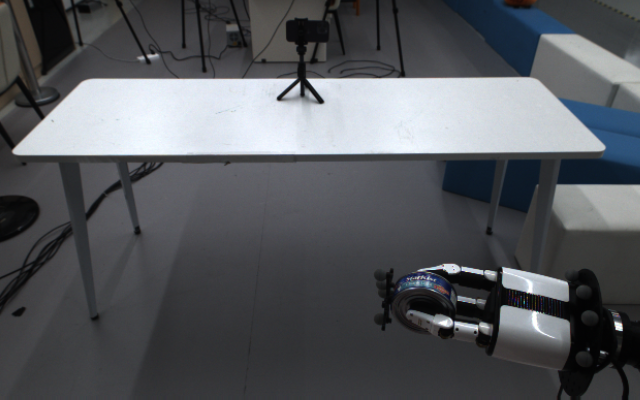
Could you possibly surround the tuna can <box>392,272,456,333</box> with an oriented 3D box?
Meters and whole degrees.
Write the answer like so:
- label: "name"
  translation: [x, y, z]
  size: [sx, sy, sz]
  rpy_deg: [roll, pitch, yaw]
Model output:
- label: "tuna can"
  translation: [0.141, 0.134, 0.648]
  size: [0.085, 0.085, 0.034]
  rpy_deg: [9, 31, 10]
